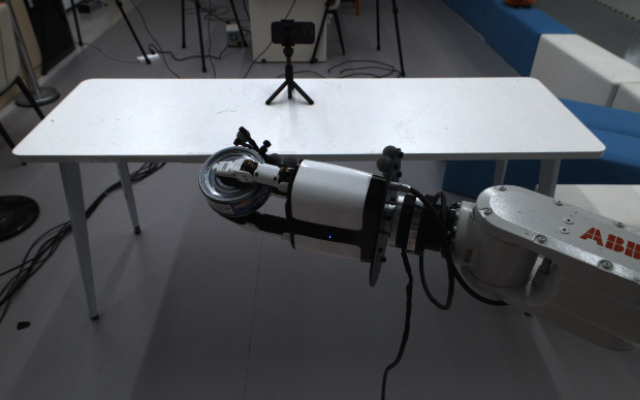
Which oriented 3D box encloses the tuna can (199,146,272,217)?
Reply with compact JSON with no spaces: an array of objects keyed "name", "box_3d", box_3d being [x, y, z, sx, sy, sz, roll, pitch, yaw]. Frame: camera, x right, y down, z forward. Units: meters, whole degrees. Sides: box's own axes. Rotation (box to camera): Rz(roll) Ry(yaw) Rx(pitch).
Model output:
[{"name":"tuna can","box_3d":[-0.102,-0.024,0.594,0.085,0.034,0.085,-4,57,6]}]
